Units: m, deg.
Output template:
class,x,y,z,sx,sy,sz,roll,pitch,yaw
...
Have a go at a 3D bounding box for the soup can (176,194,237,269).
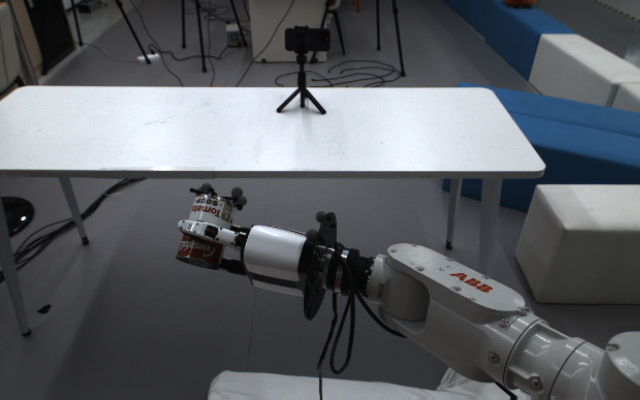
class,x,y,z,sx,sy,sz,roll,pitch,yaw
soup can,-0.175,0.052,0.748,0.067,0.067,0.101,9,72,10
